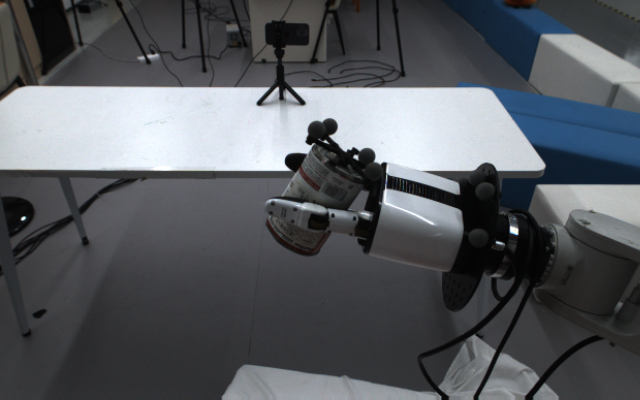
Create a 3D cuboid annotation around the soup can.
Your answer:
[{"bbox_3d":[-0.002,0.000,0.510,0.067,0.101,0.067,28,21,-12],"label":"soup can"}]
